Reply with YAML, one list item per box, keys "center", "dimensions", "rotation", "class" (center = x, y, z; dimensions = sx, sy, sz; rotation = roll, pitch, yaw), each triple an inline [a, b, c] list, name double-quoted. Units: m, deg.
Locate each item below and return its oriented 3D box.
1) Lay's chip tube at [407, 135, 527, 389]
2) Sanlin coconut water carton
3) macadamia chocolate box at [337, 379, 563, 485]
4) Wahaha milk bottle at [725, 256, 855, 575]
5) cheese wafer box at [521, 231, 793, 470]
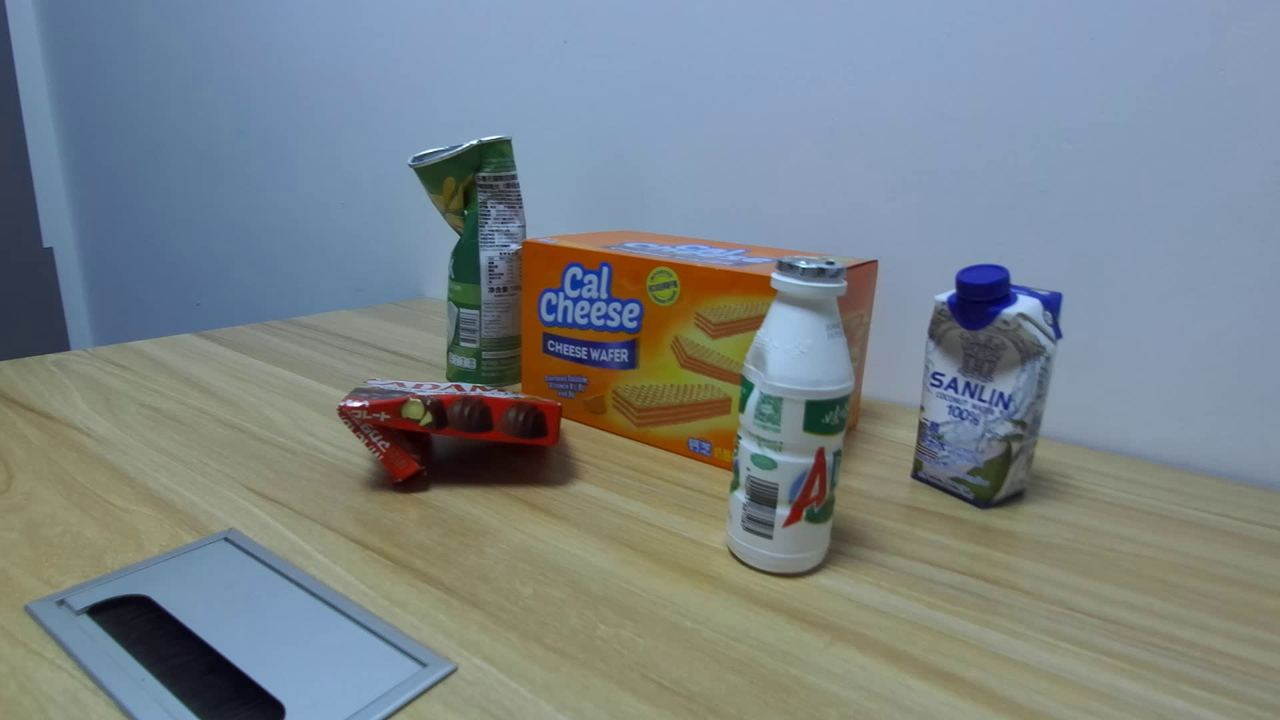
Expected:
- center: [-0.136, -0.077, 0.580]
  dimensions: [0.071, 0.199, 0.078]
  rotation: [-18, 24, -36]
  class: "Lay's chip tube"
- center: [0.207, 0.013, 0.427]
  dimensions: [0.058, 0.142, 0.077]
  rotation: [-13, 21, -32]
  class: "Sanlin coconut water carton"
- center: [-0.112, 0.034, 0.443]
  dimensions: [0.127, 0.056, 0.112]
  rotation: [-1, 17, -11]
  class: "macadamia chocolate box"
- center: [0.071, 0.031, 0.336]
  dimensions: [0.053, 0.136, 0.053]
  rotation: [3, 17, -1]
  class: "Wahaha milk bottle"
- center: [0.041, -0.019, 0.527]
  dimensions: [0.221, 0.129, 0.149]
  rotation: [13, 19, 31]
  class: "cheese wafer box"
